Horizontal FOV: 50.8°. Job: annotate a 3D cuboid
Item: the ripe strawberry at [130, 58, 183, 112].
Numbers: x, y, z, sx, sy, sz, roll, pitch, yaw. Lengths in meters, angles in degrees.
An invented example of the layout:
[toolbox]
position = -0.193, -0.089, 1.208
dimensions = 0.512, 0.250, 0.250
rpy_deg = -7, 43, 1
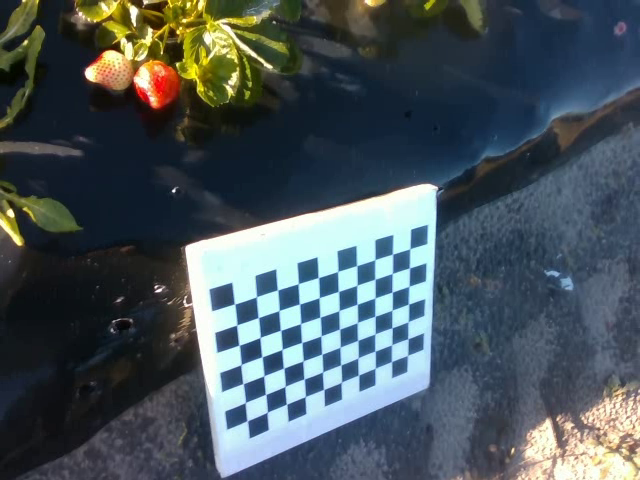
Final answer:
[ripe strawberry]
position = -0.130, -0.121, 0.538
dimensions = 0.040, 0.038, 0.056
rpy_deg = -17, 35, 5
